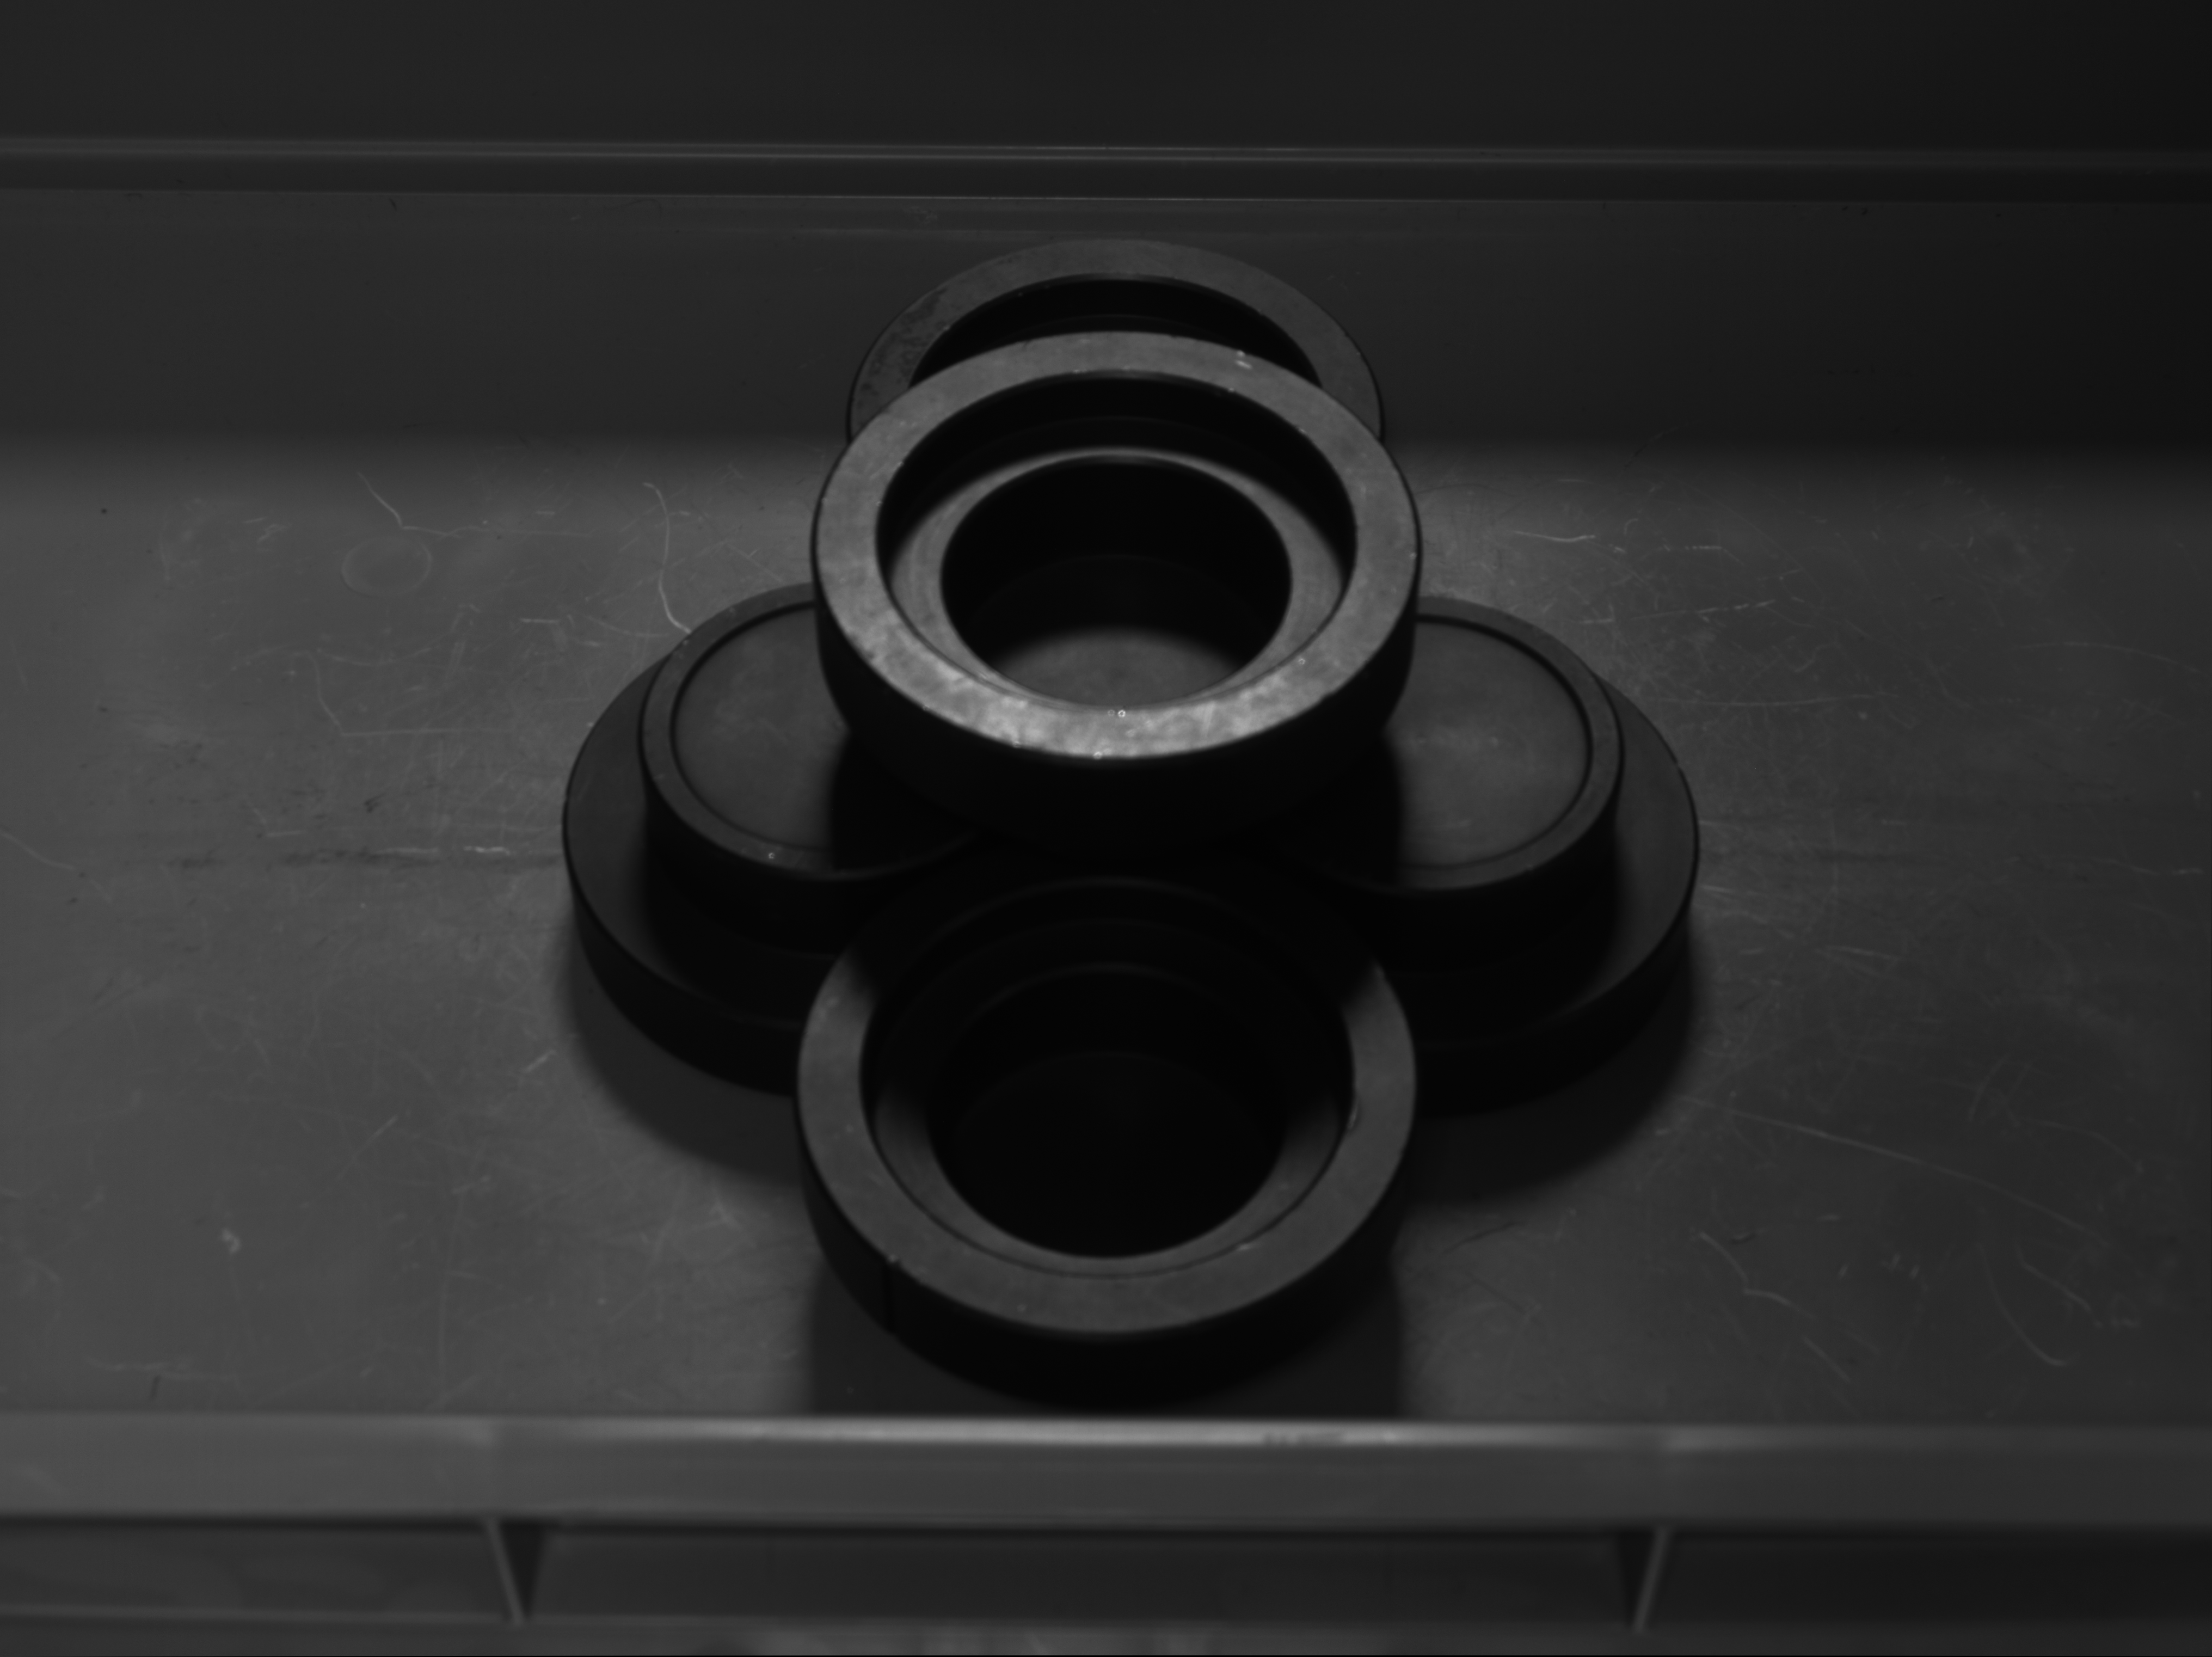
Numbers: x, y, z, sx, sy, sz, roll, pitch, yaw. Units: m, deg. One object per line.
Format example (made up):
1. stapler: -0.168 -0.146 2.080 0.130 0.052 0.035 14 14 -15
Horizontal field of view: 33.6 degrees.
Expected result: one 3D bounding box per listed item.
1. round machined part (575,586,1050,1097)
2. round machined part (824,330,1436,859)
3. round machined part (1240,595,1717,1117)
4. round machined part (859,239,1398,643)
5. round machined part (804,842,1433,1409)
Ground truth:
1. round machined part: -0.043 -0.004 0.633 0.098 0.042 0.098 0 50 0
2. round machined part: 0.004 -0.034 0.602 0.098 0.042 0.098 0 50 0
3. round machined part: 0.056 -0.002 0.630 0.098 0.042 0.098 0 50 0
4. round machined part: 0.004 -0.062 0.681 0.098 0.042 0.098 0 50 0
5. round machined part: 0.002 0.051 0.586 0.098 0.042 0.098 0 50 0
